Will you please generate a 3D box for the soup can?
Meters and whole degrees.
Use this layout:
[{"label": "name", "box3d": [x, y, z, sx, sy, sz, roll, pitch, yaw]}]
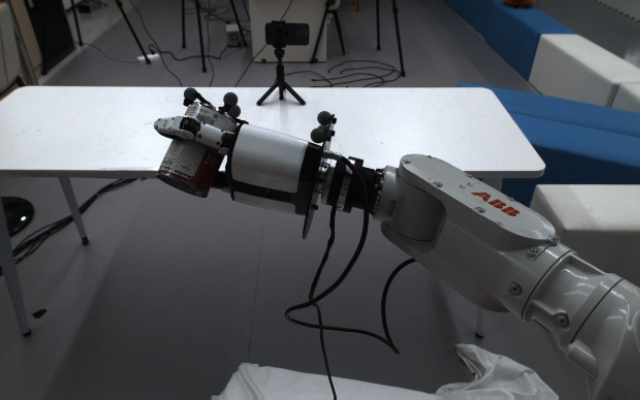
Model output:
[{"label": "soup can", "box3d": [-0.153, -0.061, 0.608, 0.067, 0.067, 0.101, 16, 76, 19]}]
